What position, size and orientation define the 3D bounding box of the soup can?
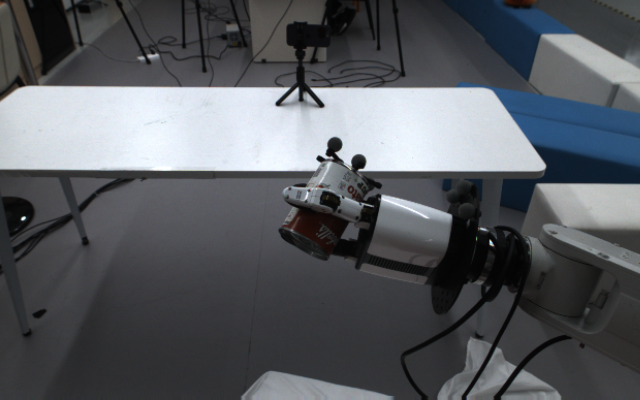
[{"bbox_3d":[0.007,0.011,0.570,0.067,0.067,0.101,23,72,27],"label":"soup can"}]
